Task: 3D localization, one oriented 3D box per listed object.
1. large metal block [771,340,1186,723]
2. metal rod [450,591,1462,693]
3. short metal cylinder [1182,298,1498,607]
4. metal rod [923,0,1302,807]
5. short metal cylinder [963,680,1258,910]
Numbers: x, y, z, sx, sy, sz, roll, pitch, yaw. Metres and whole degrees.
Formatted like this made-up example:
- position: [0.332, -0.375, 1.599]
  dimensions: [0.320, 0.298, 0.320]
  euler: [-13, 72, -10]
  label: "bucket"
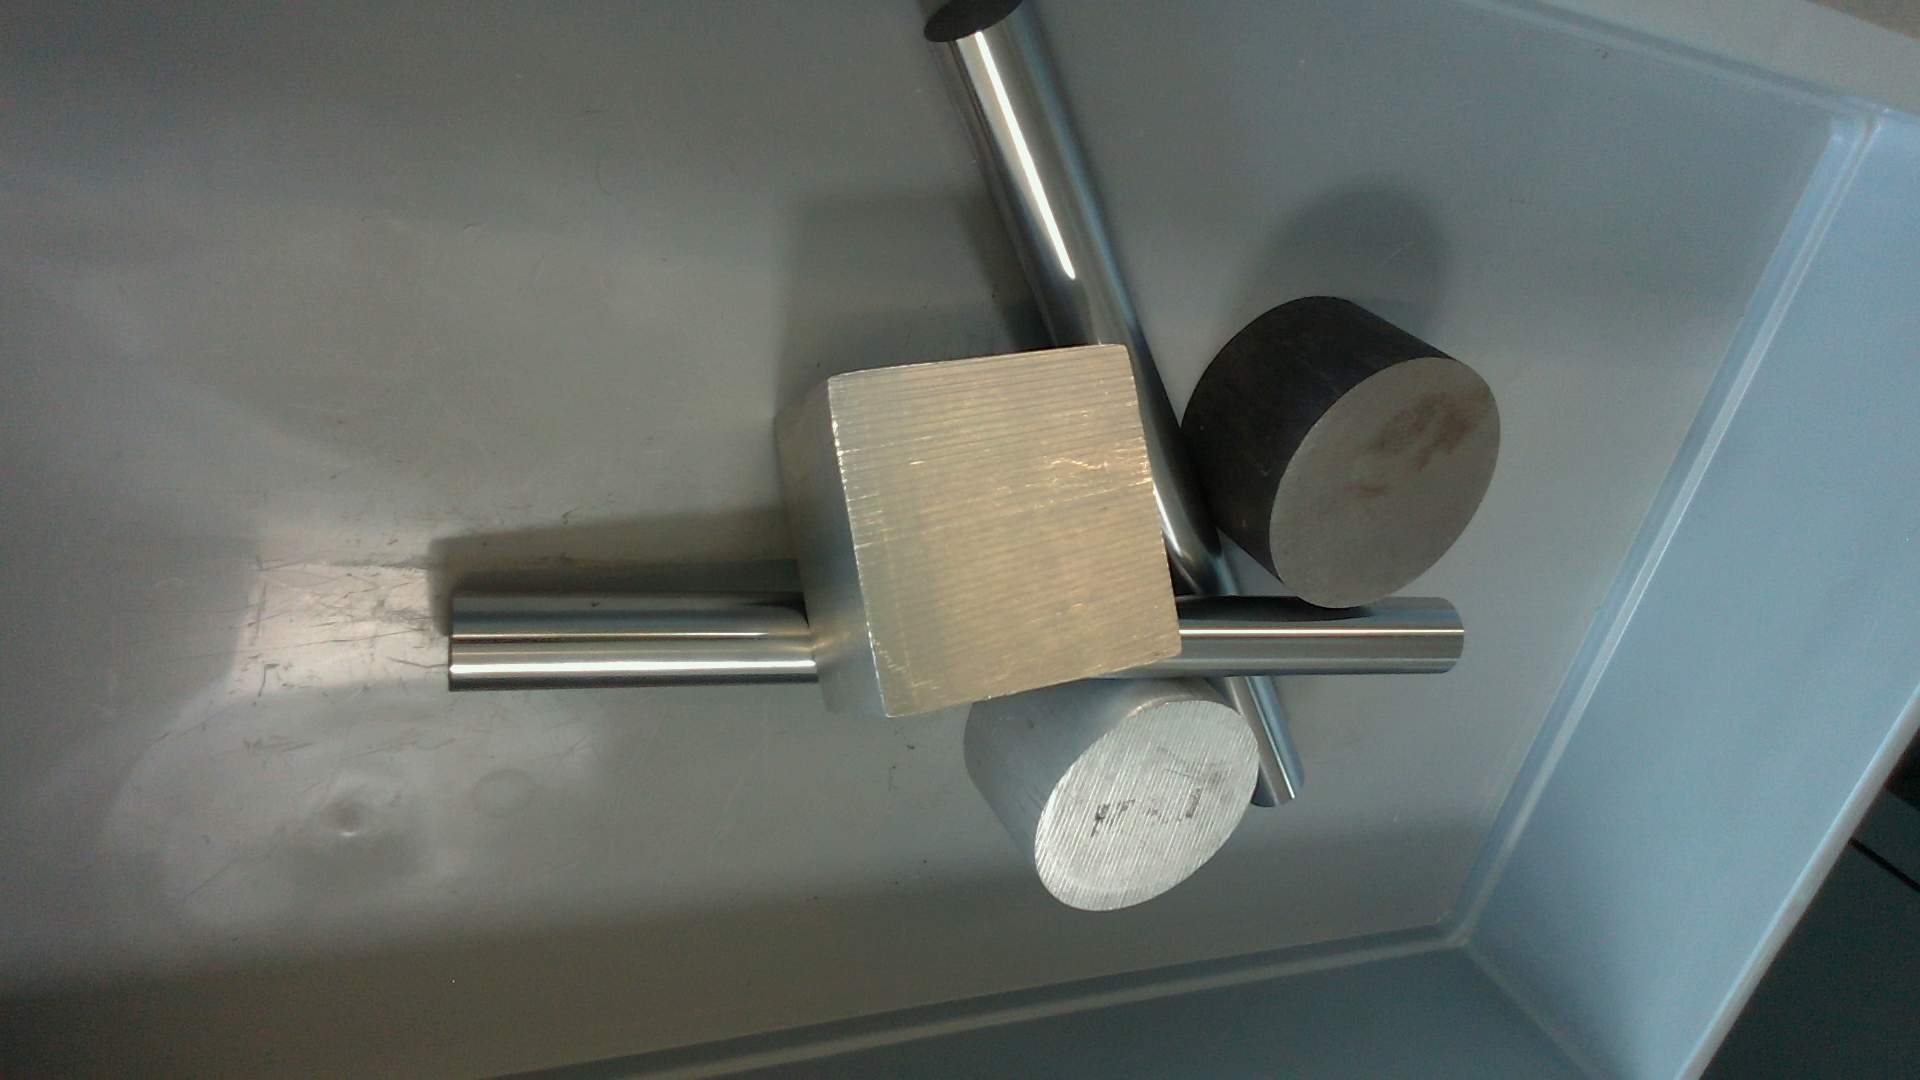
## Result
- position: [0.003, -0.002, 0.349]
  dimensions: [0.080, 0.050, 0.080]
  euler: [-9, 88, -23]
  label: "large metal block"
- position: [0.015, 0.028, 0.392]
  dimensions: [0.301, 0.025, 0.025]
  euler: [1, 118, -22]
  label: "metal rod"
- position: [0.113, -0.027, 0.417]
  dimensions: [0.080, 0.050, 0.080]
  euler: [-14, 124, -21]
  label: "short metal cylinder"
- position: [0.058, -0.017, 0.409]
  dimensions: [0.025, 0.025, 0.301]
  euler: [-33, 129, -7]
  label: "metal rod"
- position: [0.047, 0.070, 0.440]
  dimensions: [0.080, 0.050, 0.080]
  euler: [-14, 124, -21]
  label: "short metal cylinder"
